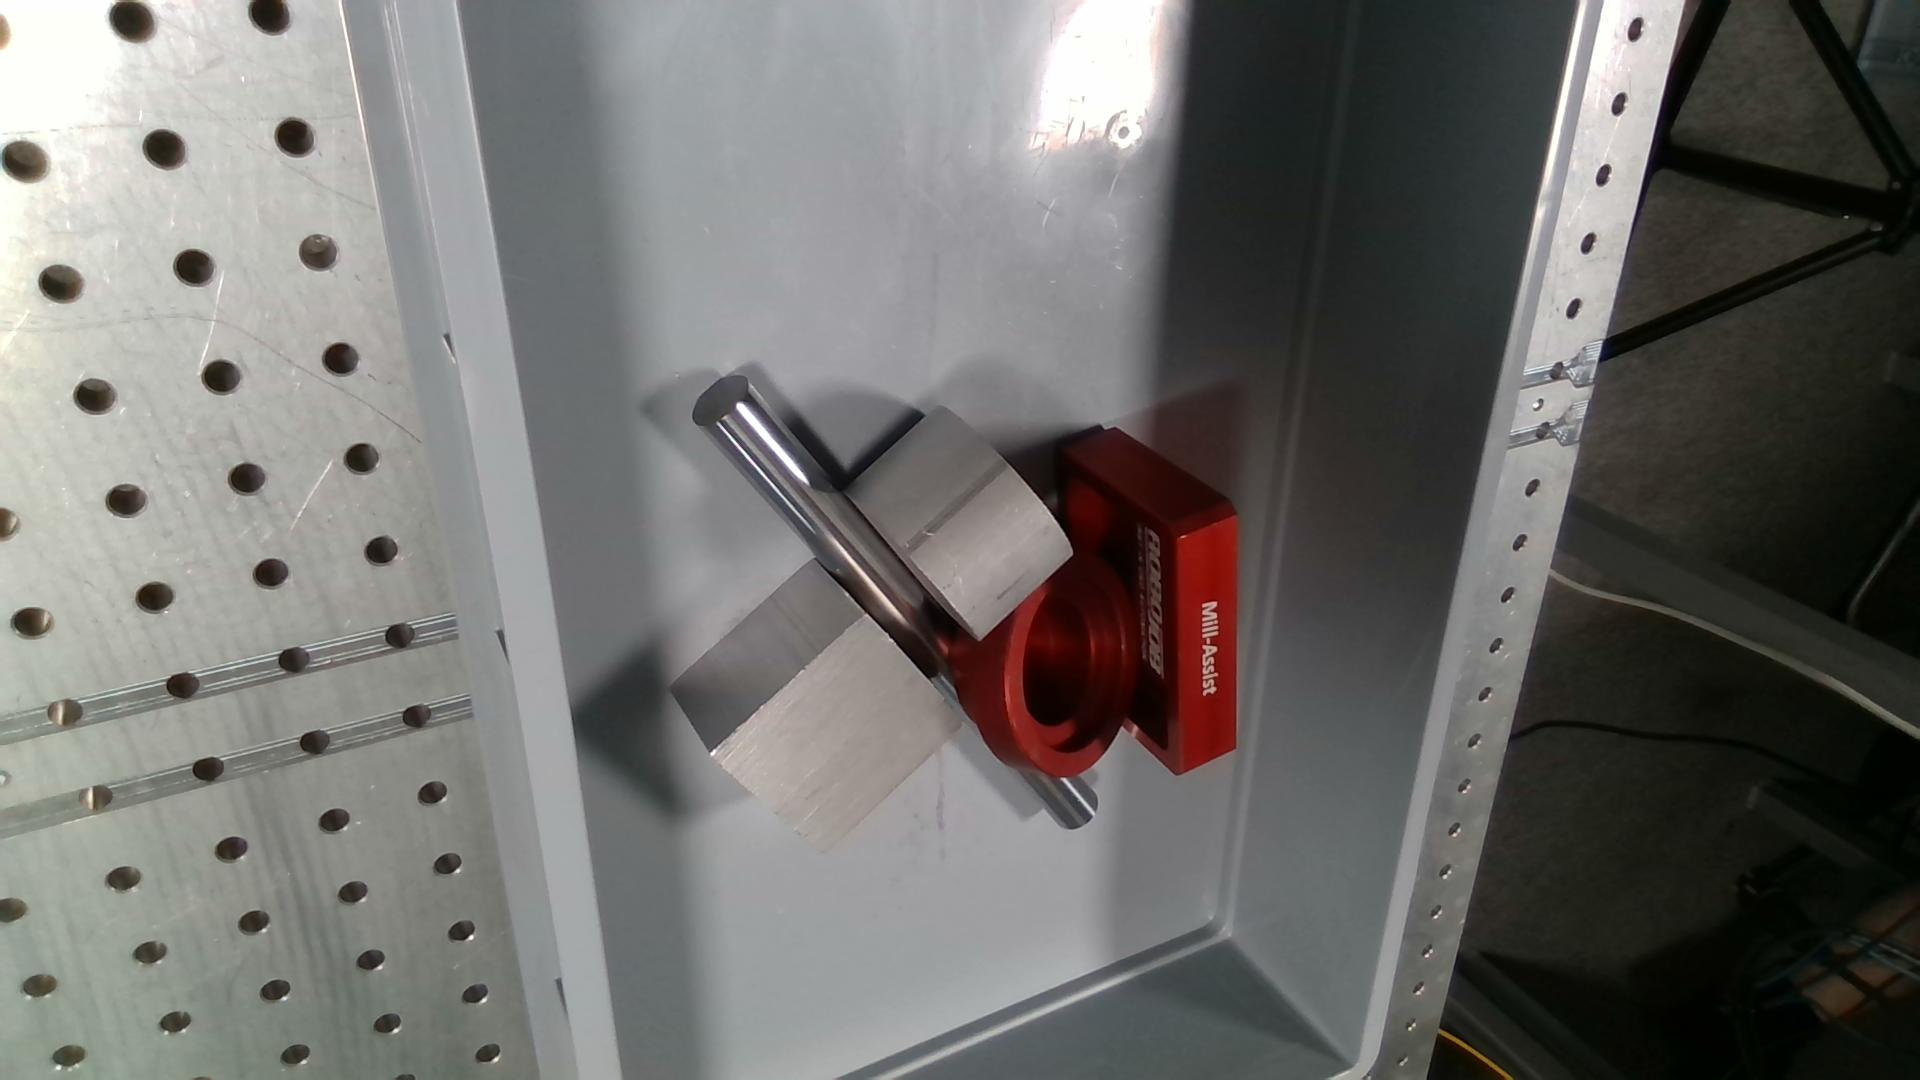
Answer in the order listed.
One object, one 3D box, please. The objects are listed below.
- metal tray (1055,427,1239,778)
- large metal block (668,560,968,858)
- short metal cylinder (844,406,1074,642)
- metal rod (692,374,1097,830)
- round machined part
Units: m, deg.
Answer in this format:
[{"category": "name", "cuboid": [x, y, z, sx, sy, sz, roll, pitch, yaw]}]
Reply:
[{"category": "metal tray", "cuboid": [0.081, 0.027, 0.601, 0.030, 0.090, 0.130, -21, 124, -21]}, {"category": "large metal block", "cuboid": [-0.057, 0.069, 0.564, 0.080, 0.050, 0.080, -42, 129, -5]}, {"category": "short metal cylinder", "cuboid": [-0.001, -0.006, 0.540, 0.050, 0.080, 0.080, -43, 129, -5]}, {"category": "metal rod", "cuboid": [-0.015, 0.042, 0.593, 0.025, 0.025, 0.301, -42, 129, -5]}, {"category": "round machined part", "cuboid": [0.034, 0.052, 0.600, 0.098, 0.042, 0.098, -5, 97, -51]}]
